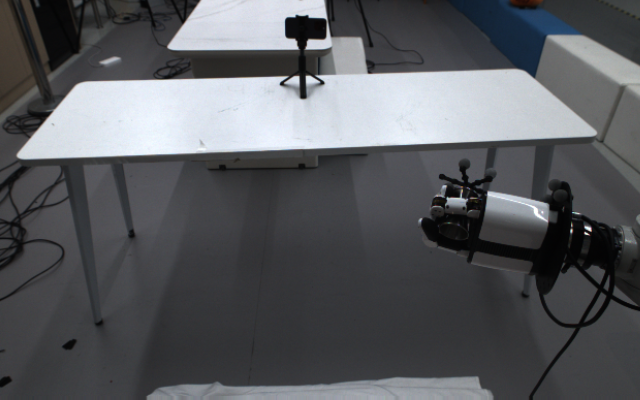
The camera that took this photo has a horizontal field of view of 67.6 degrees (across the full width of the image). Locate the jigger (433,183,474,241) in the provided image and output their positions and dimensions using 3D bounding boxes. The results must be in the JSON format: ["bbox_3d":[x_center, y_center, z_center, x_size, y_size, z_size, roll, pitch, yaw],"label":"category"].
[{"bbox_3d":[0.204,0.015,0.706,0.043,0.043,0.071,16,59,19],"label":"jigger"}]
